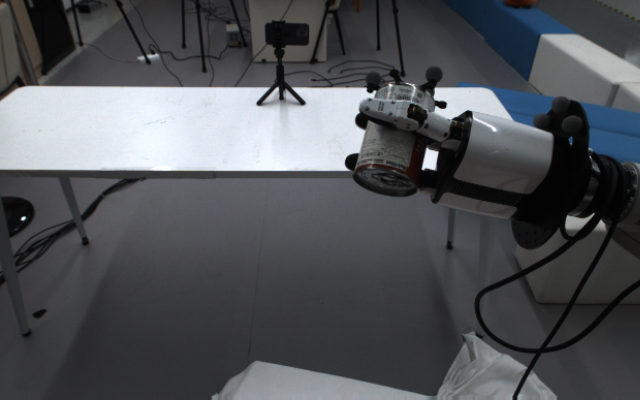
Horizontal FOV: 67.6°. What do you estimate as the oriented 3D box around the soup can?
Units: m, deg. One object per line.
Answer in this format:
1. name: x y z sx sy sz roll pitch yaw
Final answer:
1. soup can: 0.081 -0.063 0.511 0.067 0.067 0.101 11 72 13
